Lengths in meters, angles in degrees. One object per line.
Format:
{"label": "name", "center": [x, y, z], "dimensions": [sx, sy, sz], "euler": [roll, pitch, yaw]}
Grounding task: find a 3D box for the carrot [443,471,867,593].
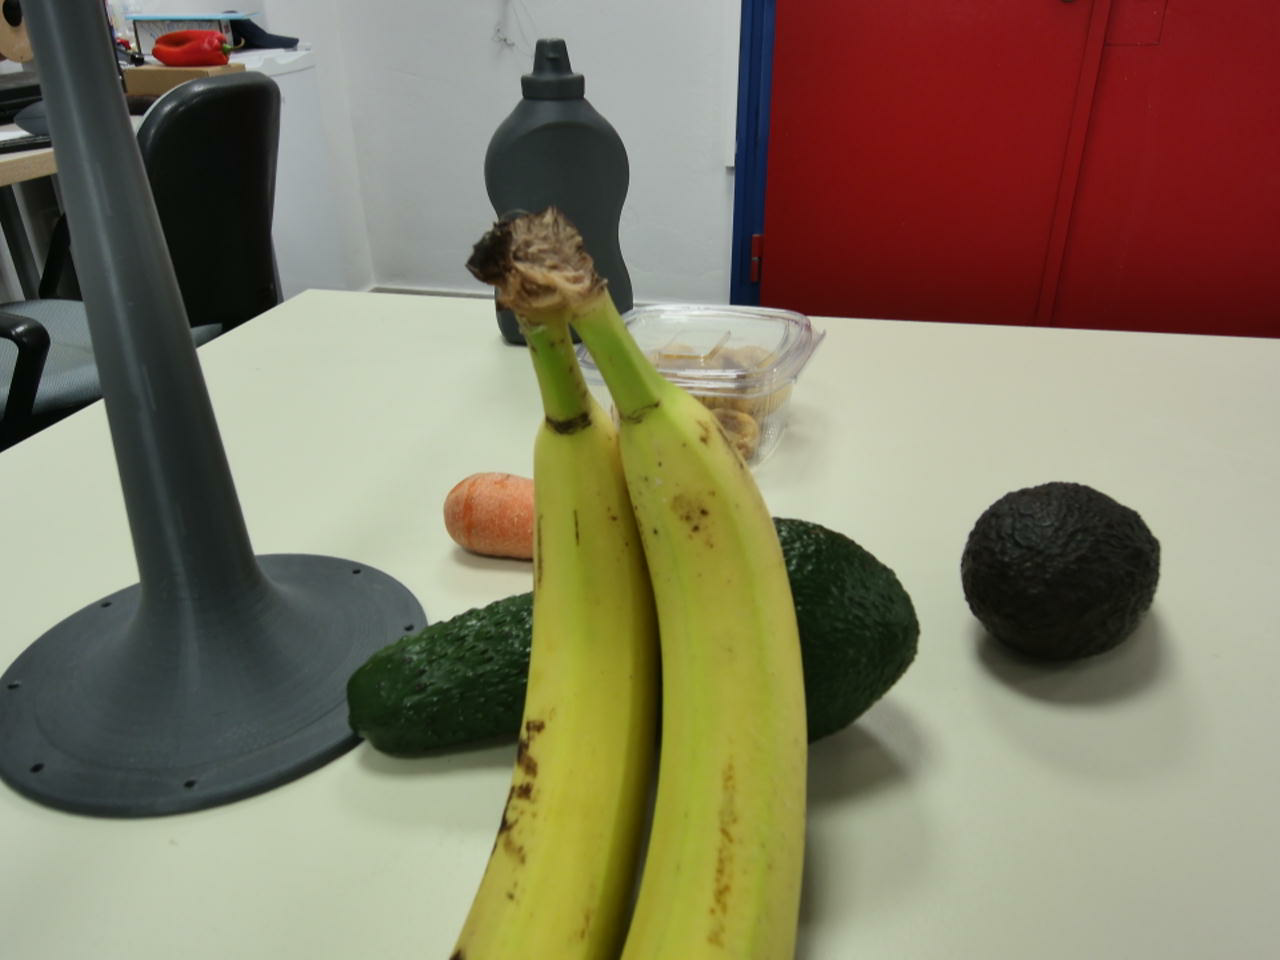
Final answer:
{"label": "carrot", "center": [0.005, 0.023, 0.456], "dimensions": [0.196, 0.041, 0.039], "euler": [5, 25, 12]}
